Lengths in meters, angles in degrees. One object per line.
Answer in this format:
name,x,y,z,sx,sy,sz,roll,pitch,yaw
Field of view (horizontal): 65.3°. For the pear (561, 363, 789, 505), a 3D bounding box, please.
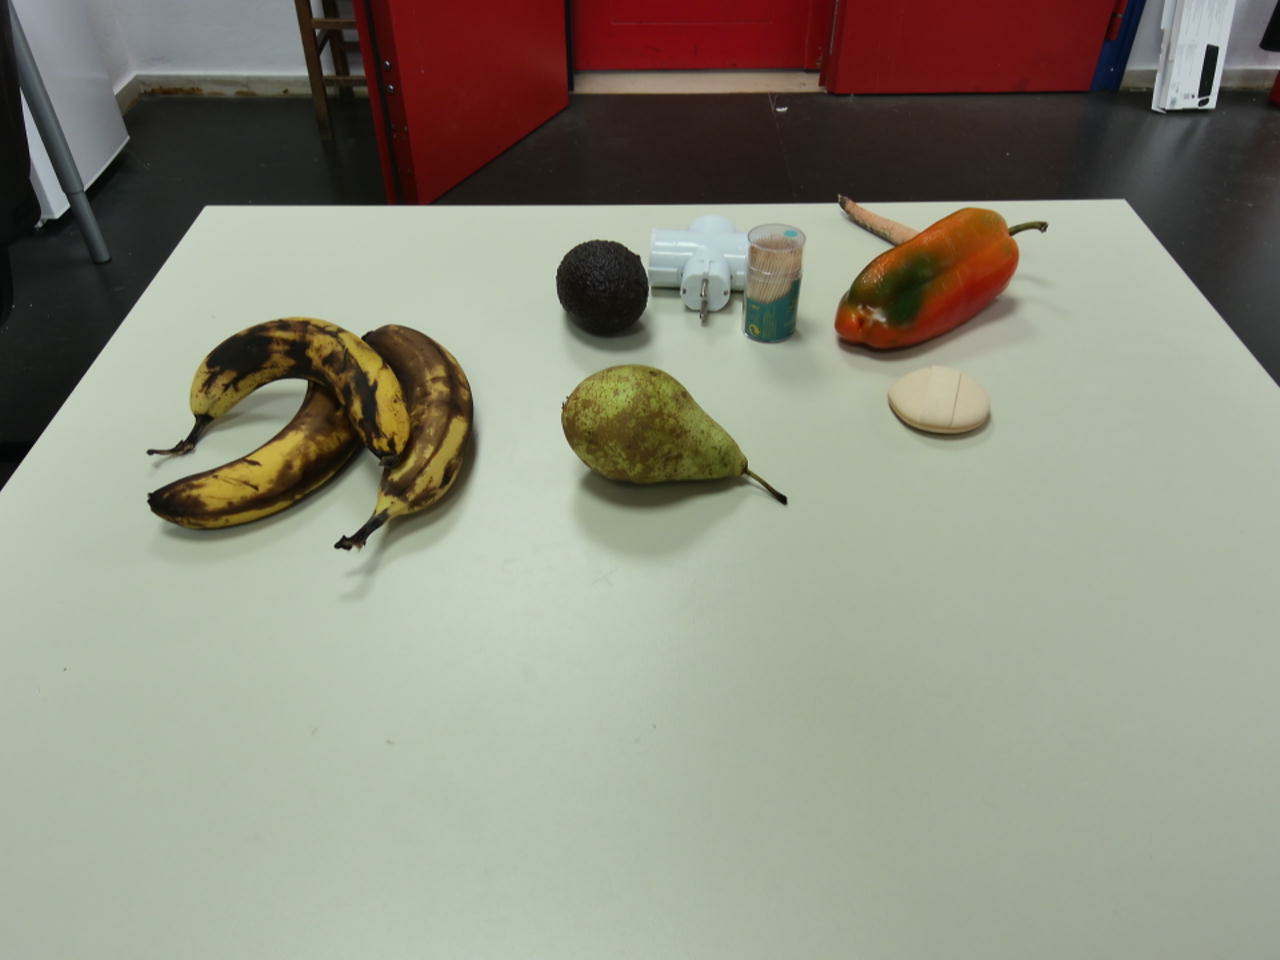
pear,0.018,-0.032,0.591,0.128,0.075,0.071,-5,39,-6
